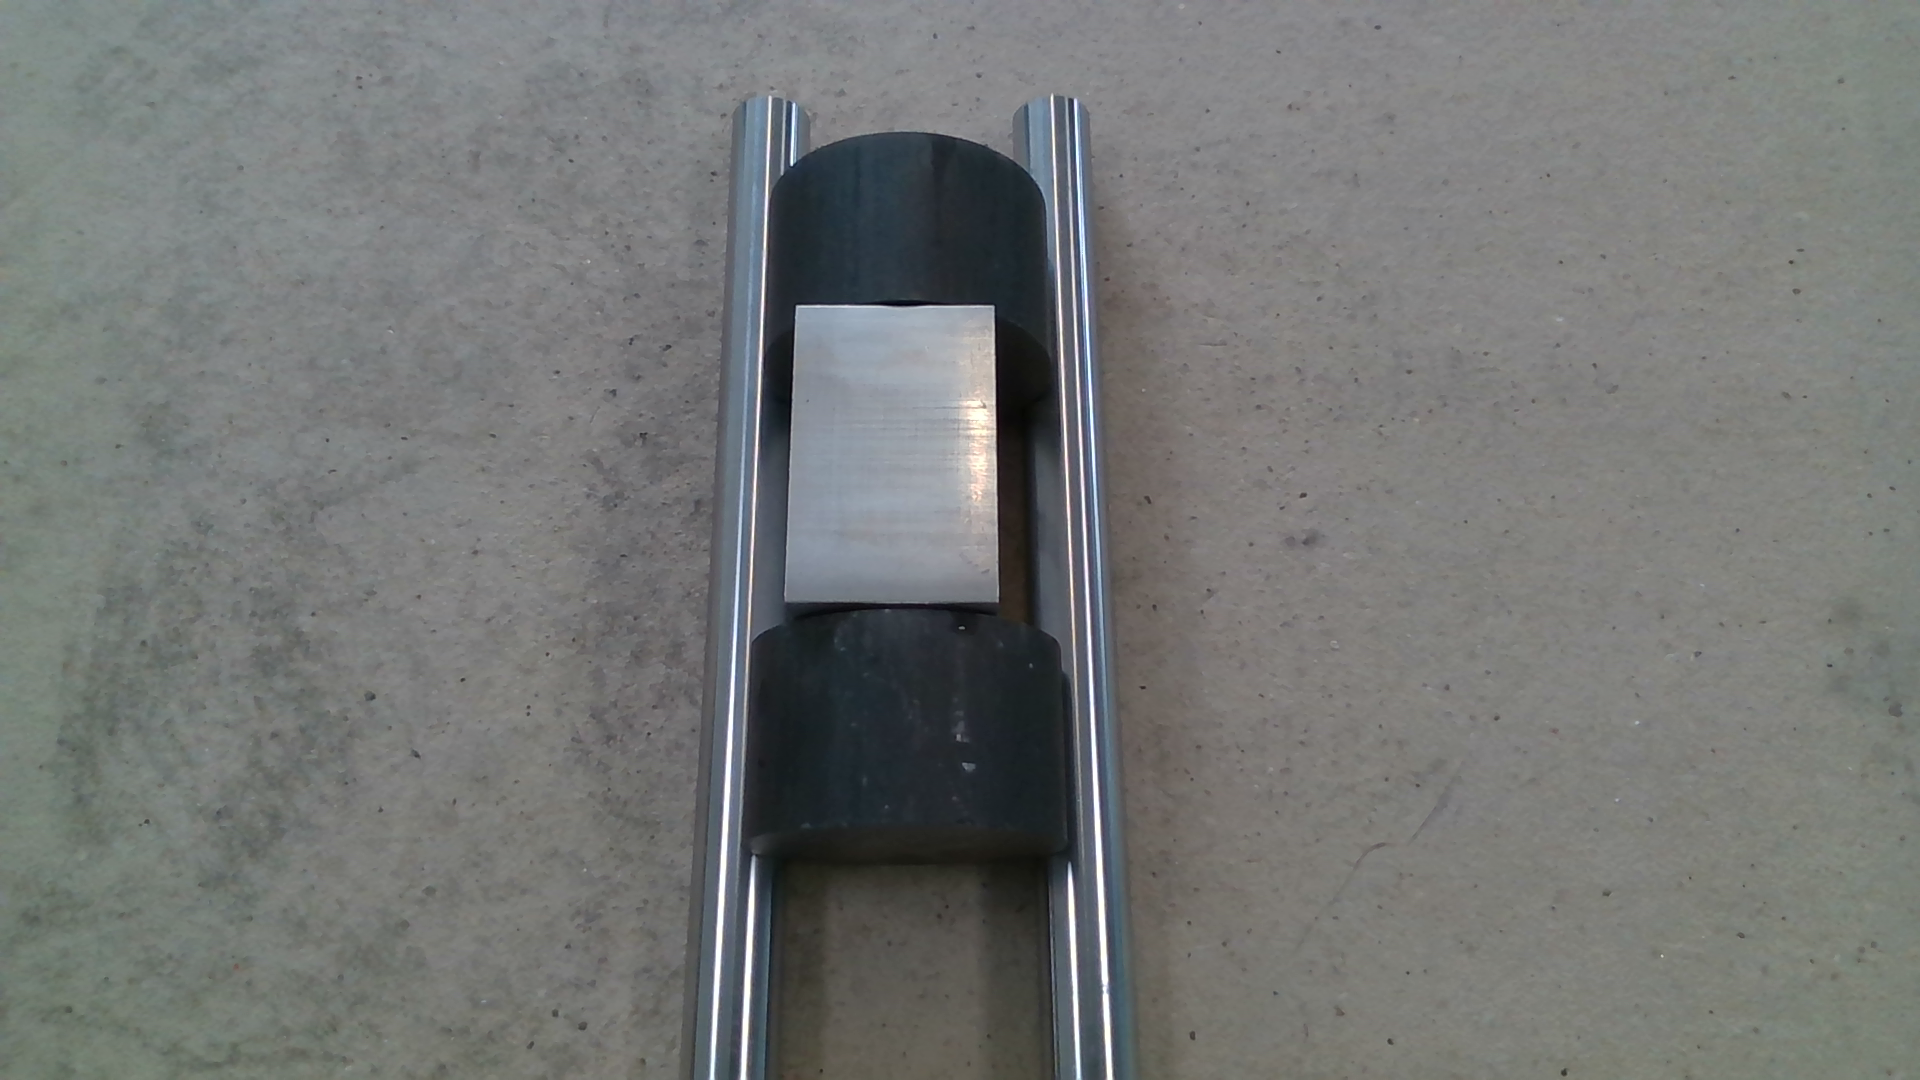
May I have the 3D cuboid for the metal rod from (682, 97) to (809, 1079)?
[{"bbox_3d":[-0.059,0.006,0.394,0.025,0.025,0.299,-1,71,0],"label":"metal rod"}]

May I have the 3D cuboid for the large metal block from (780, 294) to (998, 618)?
[{"bbox_3d":[-0.016,-0.010,0.367,0.050,0.080,0.080,0,70,0],"label":"large metal block"}]

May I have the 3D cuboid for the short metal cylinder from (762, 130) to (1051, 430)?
[{"bbox_3d":[-0.015,-0.071,0.391,0.080,0.080,0.050,-1,70,0],"label":"short metal cylinder"}]

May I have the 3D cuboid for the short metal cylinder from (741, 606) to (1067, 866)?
[{"bbox_3d":[-0.014,0.052,0.347,0.080,0.080,0.050,-1,70,0],"label":"short metal cylinder"}]

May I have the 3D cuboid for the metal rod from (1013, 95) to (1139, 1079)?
[{"bbox_3d":[0.031,0.005,0.394,0.025,0.025,0.299,-1,71,0],"label":"metal rod"}]
